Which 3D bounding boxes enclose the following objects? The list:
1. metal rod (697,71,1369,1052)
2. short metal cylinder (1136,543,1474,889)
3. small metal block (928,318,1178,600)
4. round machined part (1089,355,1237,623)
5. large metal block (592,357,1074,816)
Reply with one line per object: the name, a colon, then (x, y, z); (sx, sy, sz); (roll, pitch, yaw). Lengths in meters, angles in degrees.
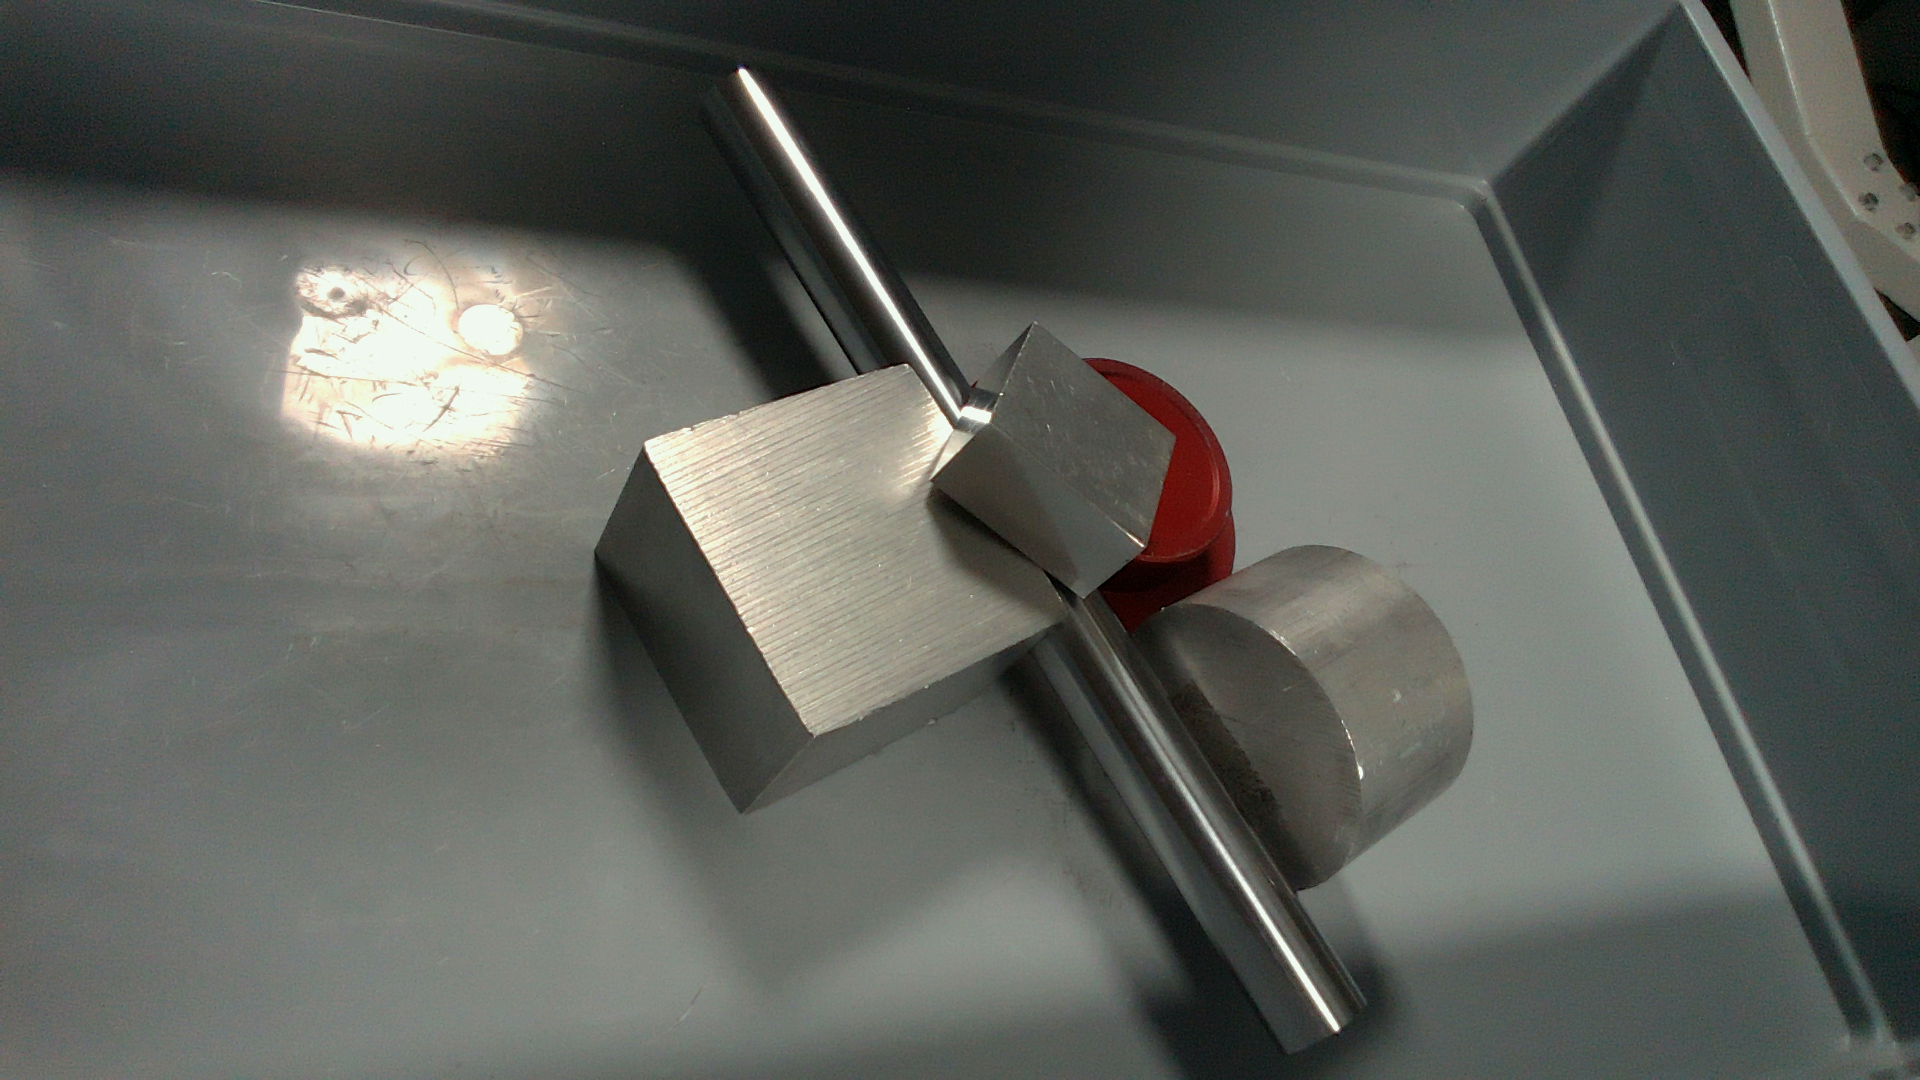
metal rod: (0.012, -0.005, 0.371); (0.025, 0.025, 0.300); (-22, 74, -36)
short metal cylinder: (0.089, 0.047, 0.372); (0.050, 0.080, 0.080); (-23, 74, -36)
small metal block: (0.025, -0.021, 0.353); (0.050, 0.025, 0.050); (37, 39, -12)
round machined part: (0.041, -0.015, 0.408); (0.098, 0.042, 0.098); (14, 56, -21)
large metal block: (-0.033, 0.009, 0.346); (0.080, 0.050, 0.080); (-22, 74, -36)
